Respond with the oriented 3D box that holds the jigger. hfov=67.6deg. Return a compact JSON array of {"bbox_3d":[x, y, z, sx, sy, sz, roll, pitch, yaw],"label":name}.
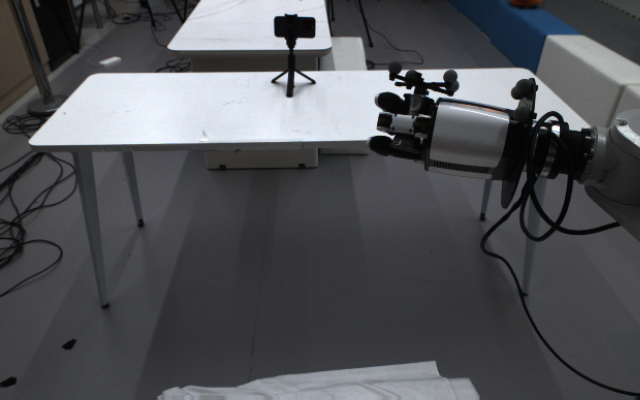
[{"bbox_3d":[0.121,-0.098,0.623,0.043,0.071,0.043,14,1,0],"label":"jigger"}]
